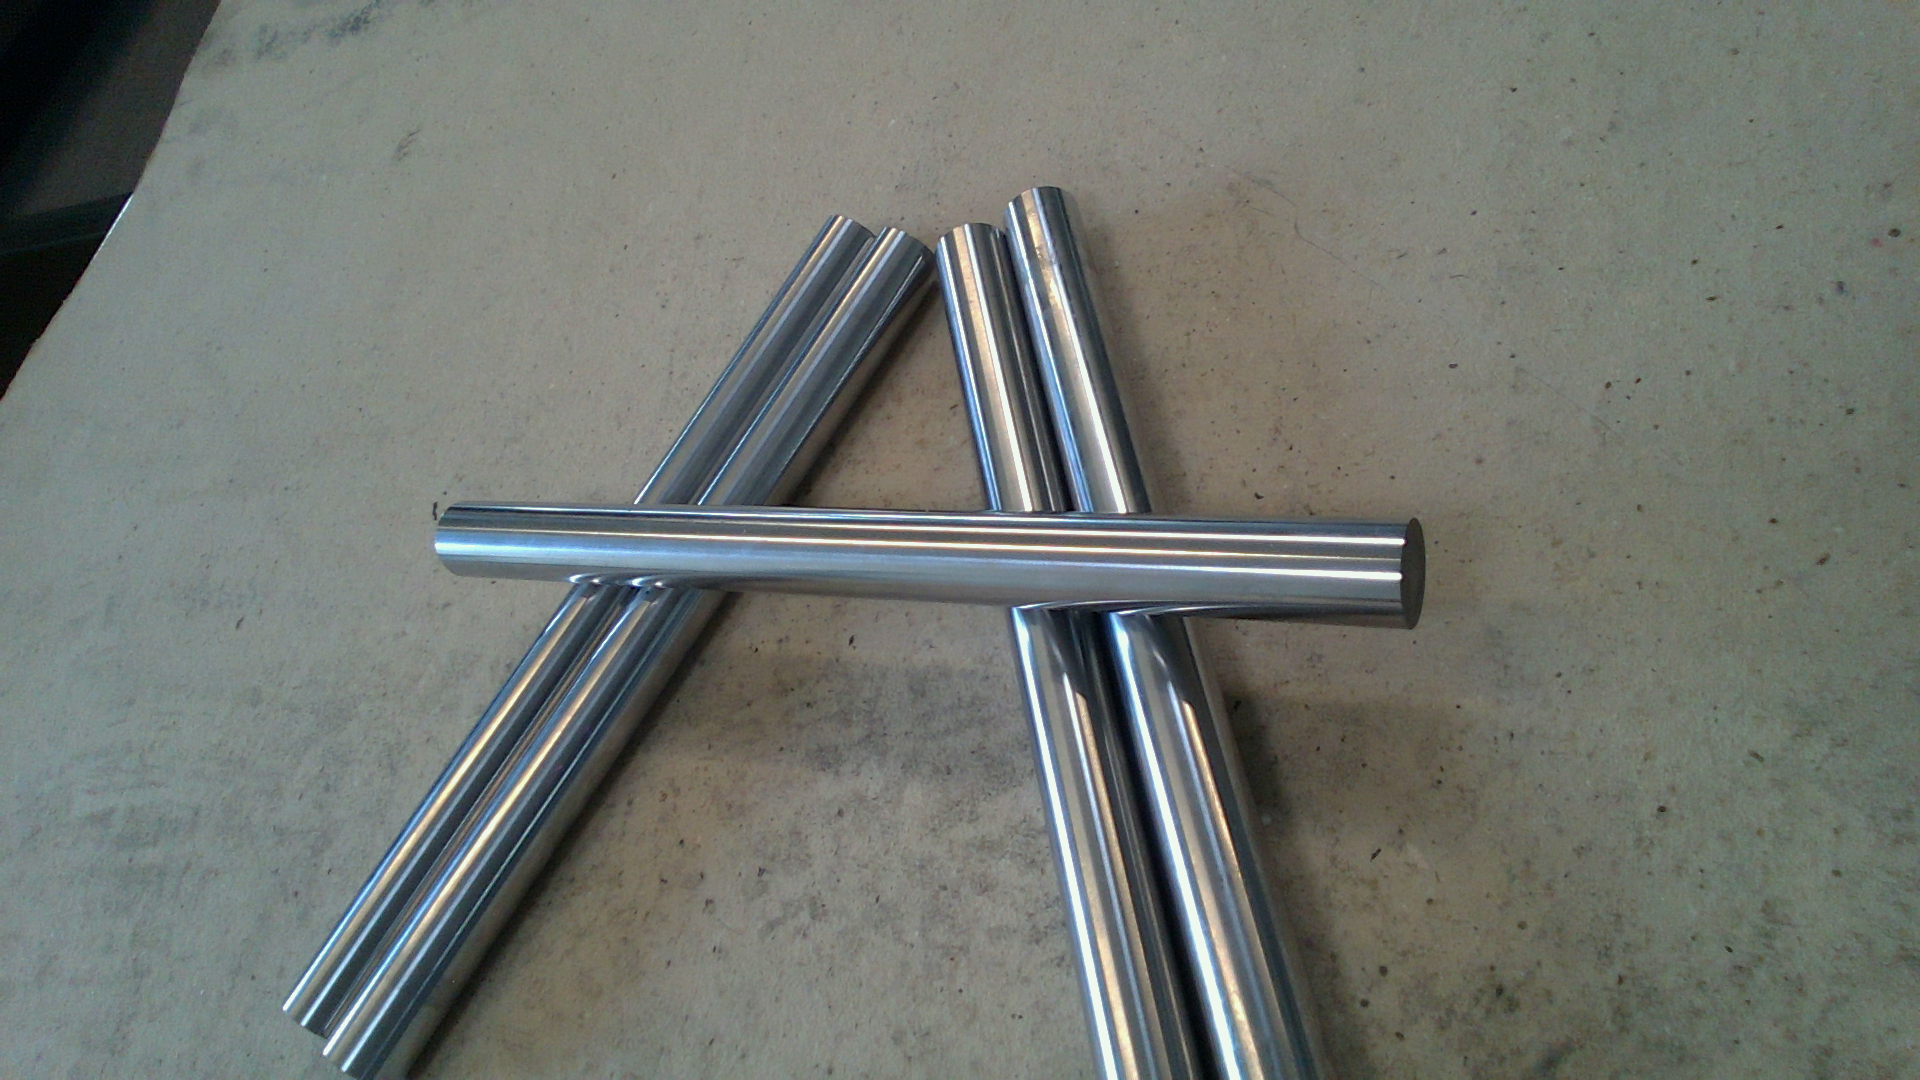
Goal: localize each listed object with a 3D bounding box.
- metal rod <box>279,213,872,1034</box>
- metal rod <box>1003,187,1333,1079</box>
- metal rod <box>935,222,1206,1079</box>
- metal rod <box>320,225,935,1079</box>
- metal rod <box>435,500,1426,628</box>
[{"bbox_3d":[-0.113,0.019,0.443,0.025,0.025,0.300,22,73,36],"label":"metal rod"},{"bbox_3d":[0.048,0.016,0.358,0.025,0.025,0.300,-22,53,16],"label":"metal rod"},{"bbox_3d":[0.026,0.026,0.364,0.025,0.025,0.300,-22,53,16],"label":"metal rod"},{"bbox_3d":[-0.095,0.026,0.428,0.025,0.025,0.300,22,73,36],"label":"metal rod"},{"bbox_3d":[-0.030,0.003,0.376,0.299,0.025,0.025,2,62,29],"label":"metal rod"}]
